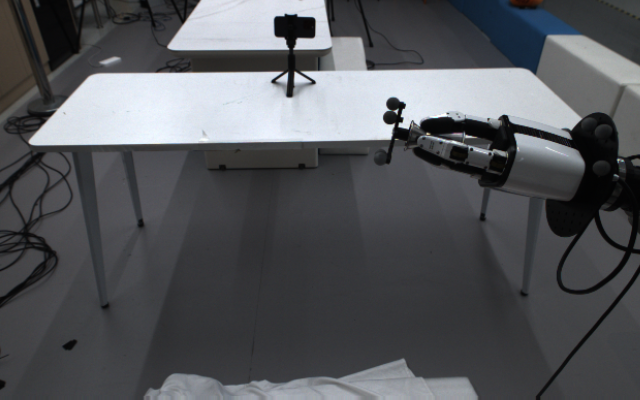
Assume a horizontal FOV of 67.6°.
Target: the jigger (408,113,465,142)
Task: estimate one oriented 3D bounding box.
[{"bbox_3d":[0.148,-0.080,0.621,0.071,0.043,0.043,14,36,4],"label":"jigger"}]
